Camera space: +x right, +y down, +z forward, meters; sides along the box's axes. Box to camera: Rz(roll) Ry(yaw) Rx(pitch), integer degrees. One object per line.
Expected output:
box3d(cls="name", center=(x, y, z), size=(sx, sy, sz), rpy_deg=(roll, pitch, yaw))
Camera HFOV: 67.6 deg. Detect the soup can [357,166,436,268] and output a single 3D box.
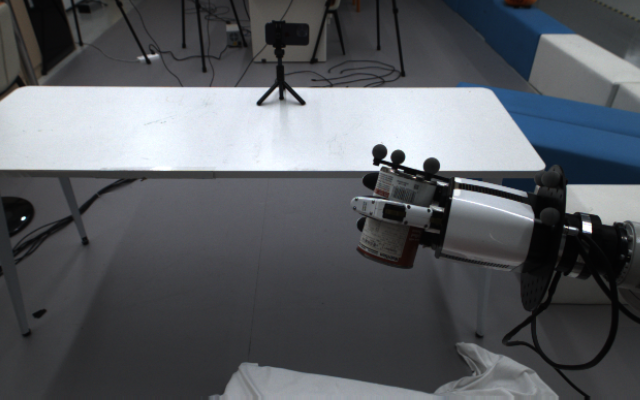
box3d(cls="soup can", center=(0.090, 0.018, 0.555), size=(0.067, 0.101, 0.067), rpy_deg=(15, 7, -2))
